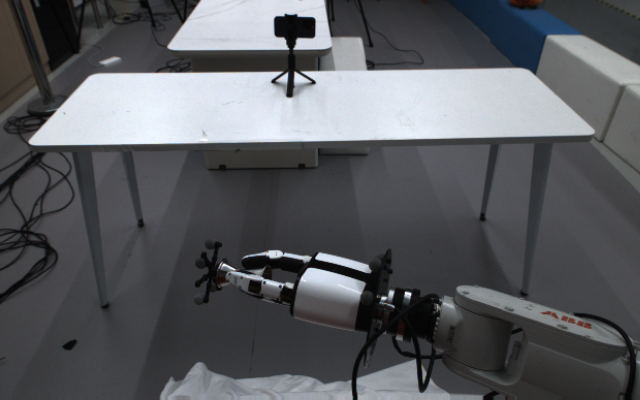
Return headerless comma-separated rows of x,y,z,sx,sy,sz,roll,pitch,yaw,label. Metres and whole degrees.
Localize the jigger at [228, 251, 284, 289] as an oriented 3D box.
-0.101,0.106,0.688,0.071,0.043,0.043,6,35,14,jigger
